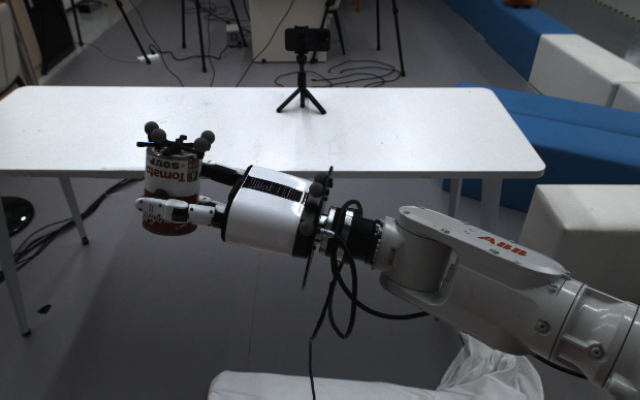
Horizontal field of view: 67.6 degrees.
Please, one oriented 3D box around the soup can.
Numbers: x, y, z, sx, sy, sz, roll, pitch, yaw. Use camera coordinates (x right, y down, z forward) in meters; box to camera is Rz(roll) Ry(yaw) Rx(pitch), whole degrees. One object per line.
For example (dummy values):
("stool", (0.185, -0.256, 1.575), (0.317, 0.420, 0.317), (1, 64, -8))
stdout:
("soup can", (-0.183, -0.014, 0.603), (0.067, 0.101, 0.067), (9, 20, -3))
